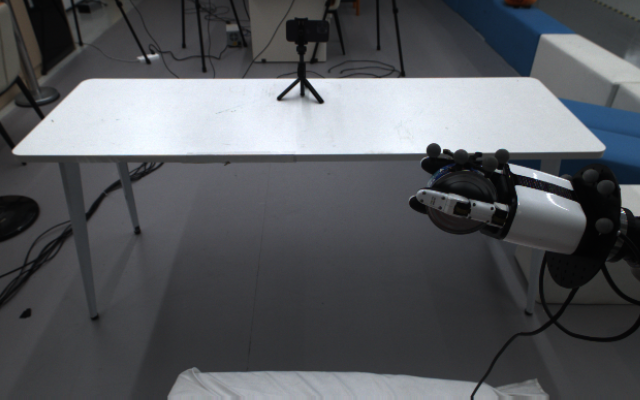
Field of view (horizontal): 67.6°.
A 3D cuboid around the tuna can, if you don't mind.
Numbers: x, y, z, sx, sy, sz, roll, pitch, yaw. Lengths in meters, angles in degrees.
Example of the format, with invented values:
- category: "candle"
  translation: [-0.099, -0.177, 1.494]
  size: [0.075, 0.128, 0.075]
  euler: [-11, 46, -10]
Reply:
- category: "tuna can"
  translation: [0.176, -0.003, 0.605]
  size: [0.085, 0.085, 0.034]
  euler: [7, 22, 7]
